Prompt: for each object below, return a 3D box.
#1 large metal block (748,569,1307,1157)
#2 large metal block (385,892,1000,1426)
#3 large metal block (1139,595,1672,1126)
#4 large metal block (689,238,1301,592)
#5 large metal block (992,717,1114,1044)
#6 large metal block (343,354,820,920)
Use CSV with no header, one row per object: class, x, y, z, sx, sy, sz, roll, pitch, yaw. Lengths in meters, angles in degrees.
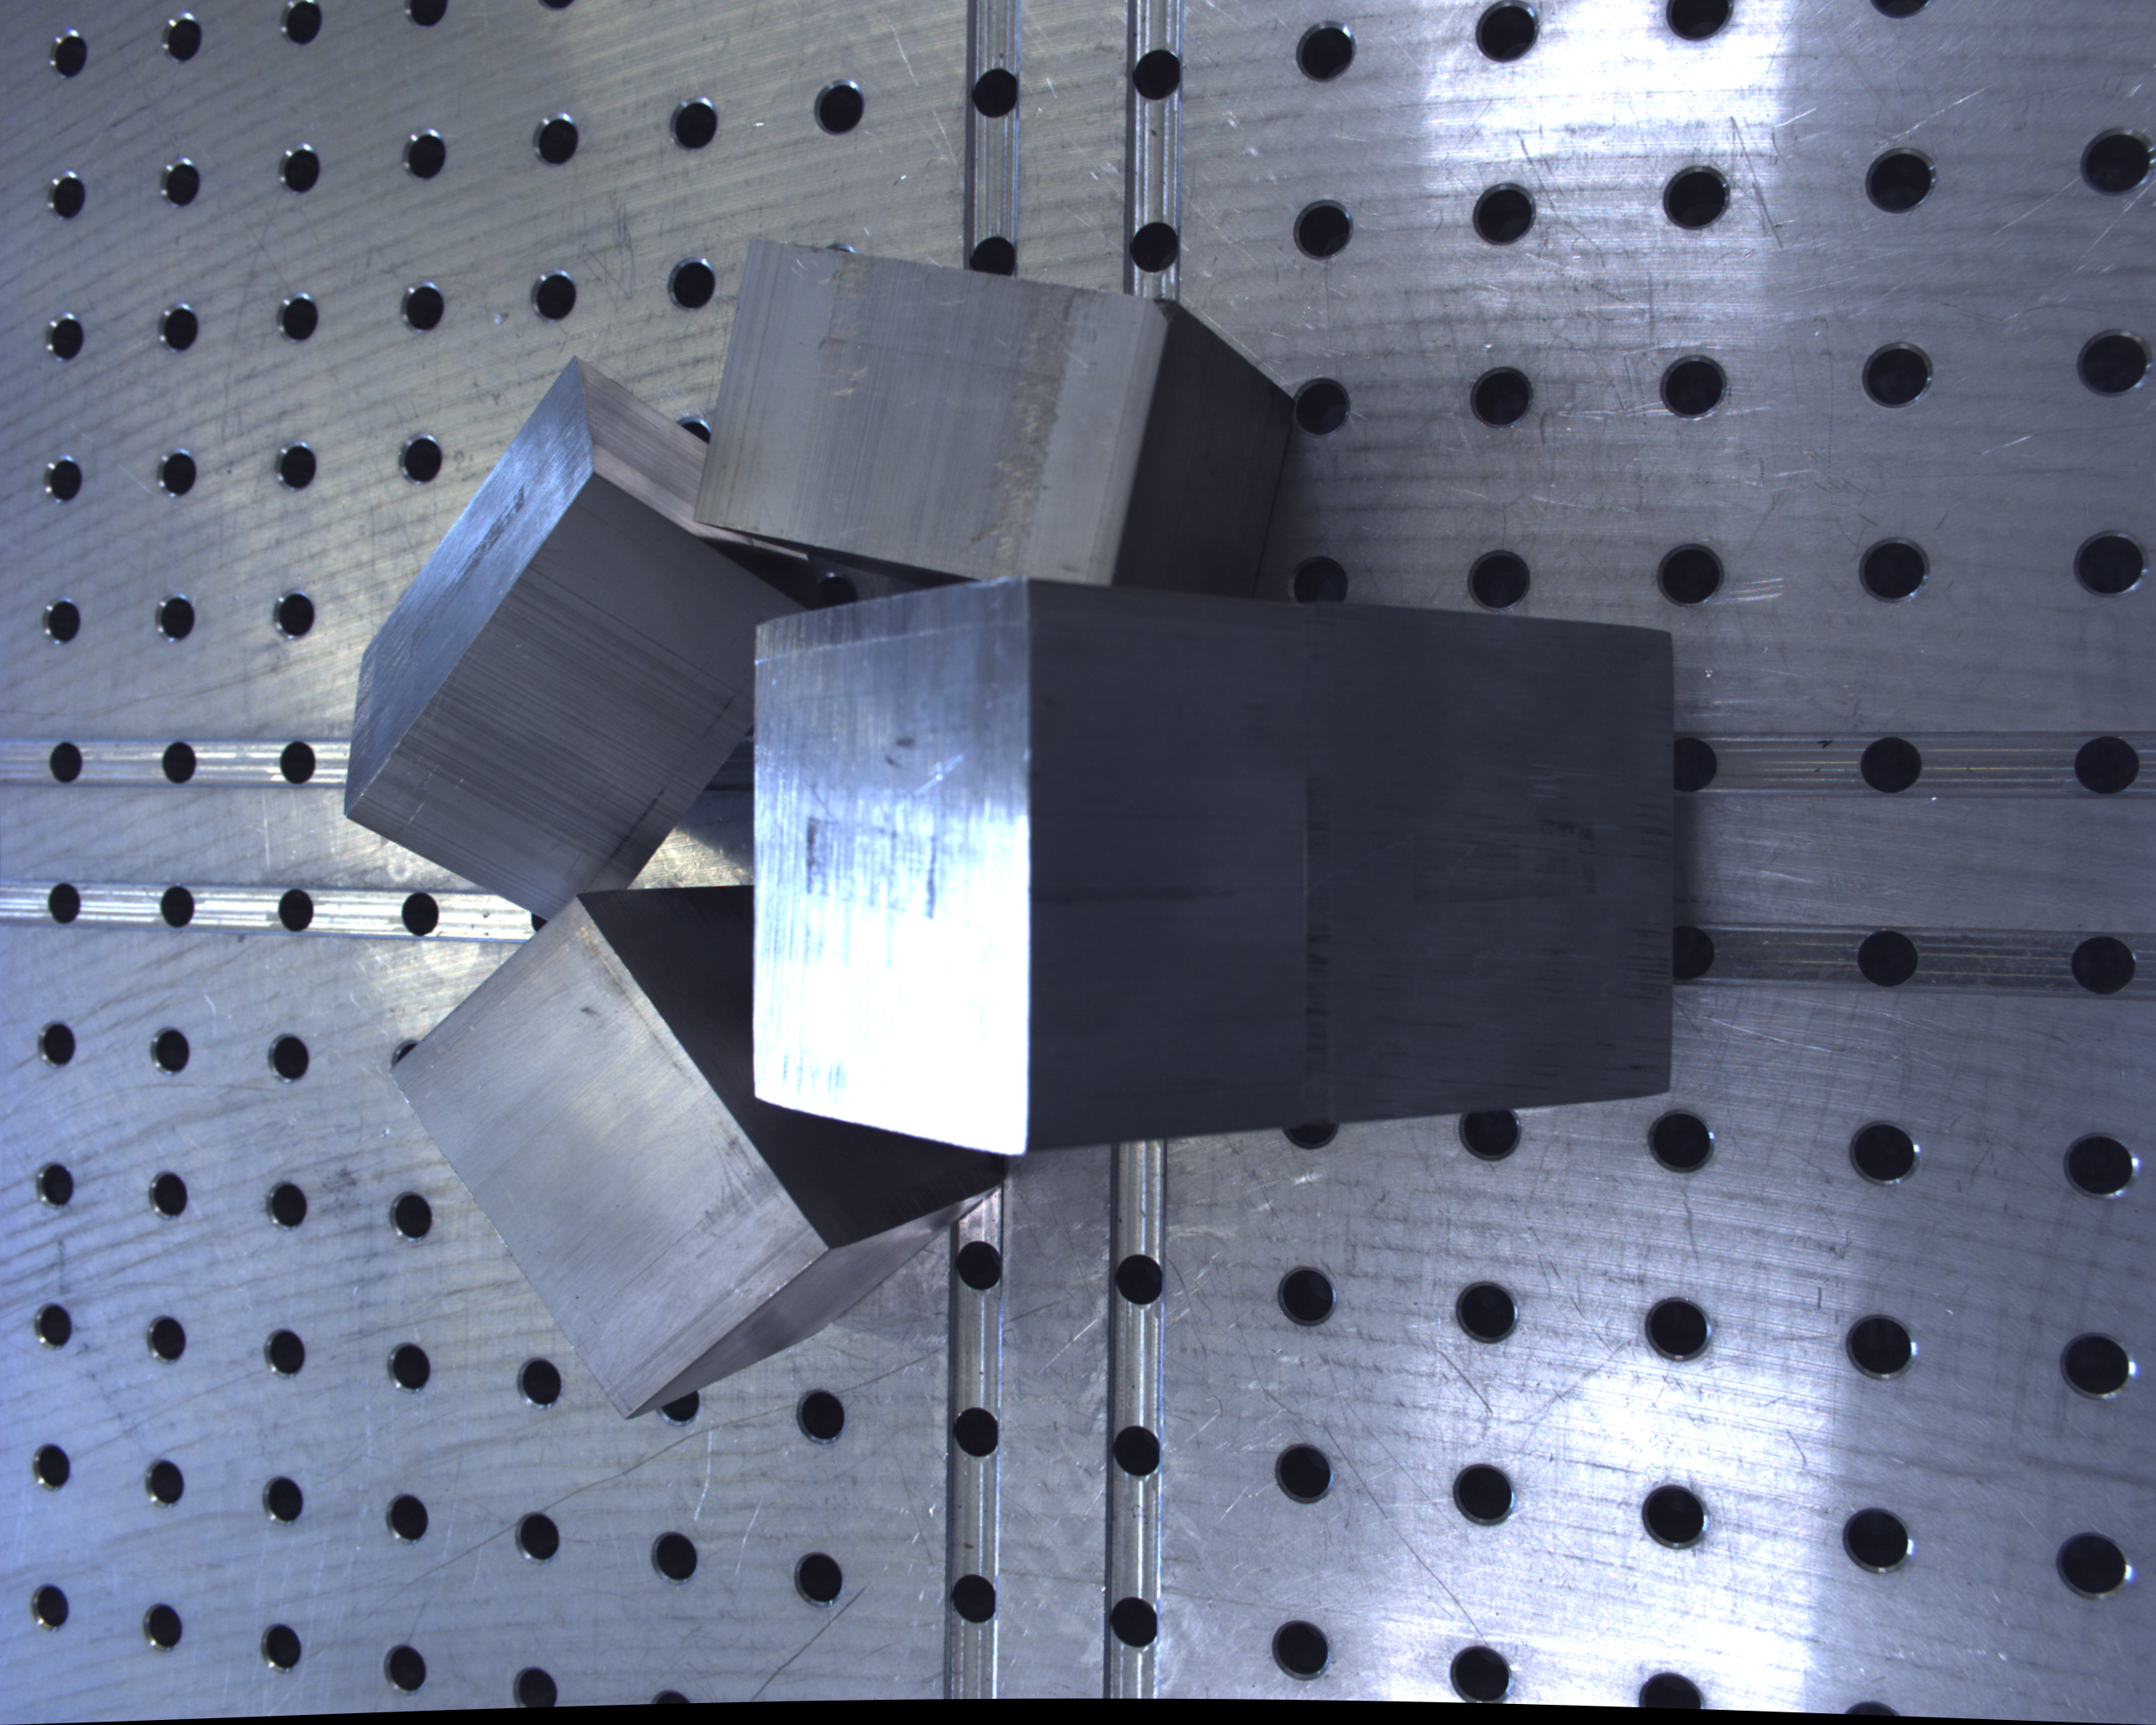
large metal block,-0.010,0.000,0.329,0.080,0.050,0.080,0,89,54
large metal block,-0.072,0.053,0.408,0.050,0.080,0.080,-41,78,15
large metal block,0.054,0.000,0.356,0.050,0.081,0.080,-1,89,57
large metal block,-0.012,-0.075,0.388,0.080,0.080,0.050,14,95,20
large metal block,-0.009,-0.002,0.403,0.080,0.050,0.080,1,90,20
large metal block,-0.098,-0.044,0.412,0.050,0.080,0.080,32,105,-28
